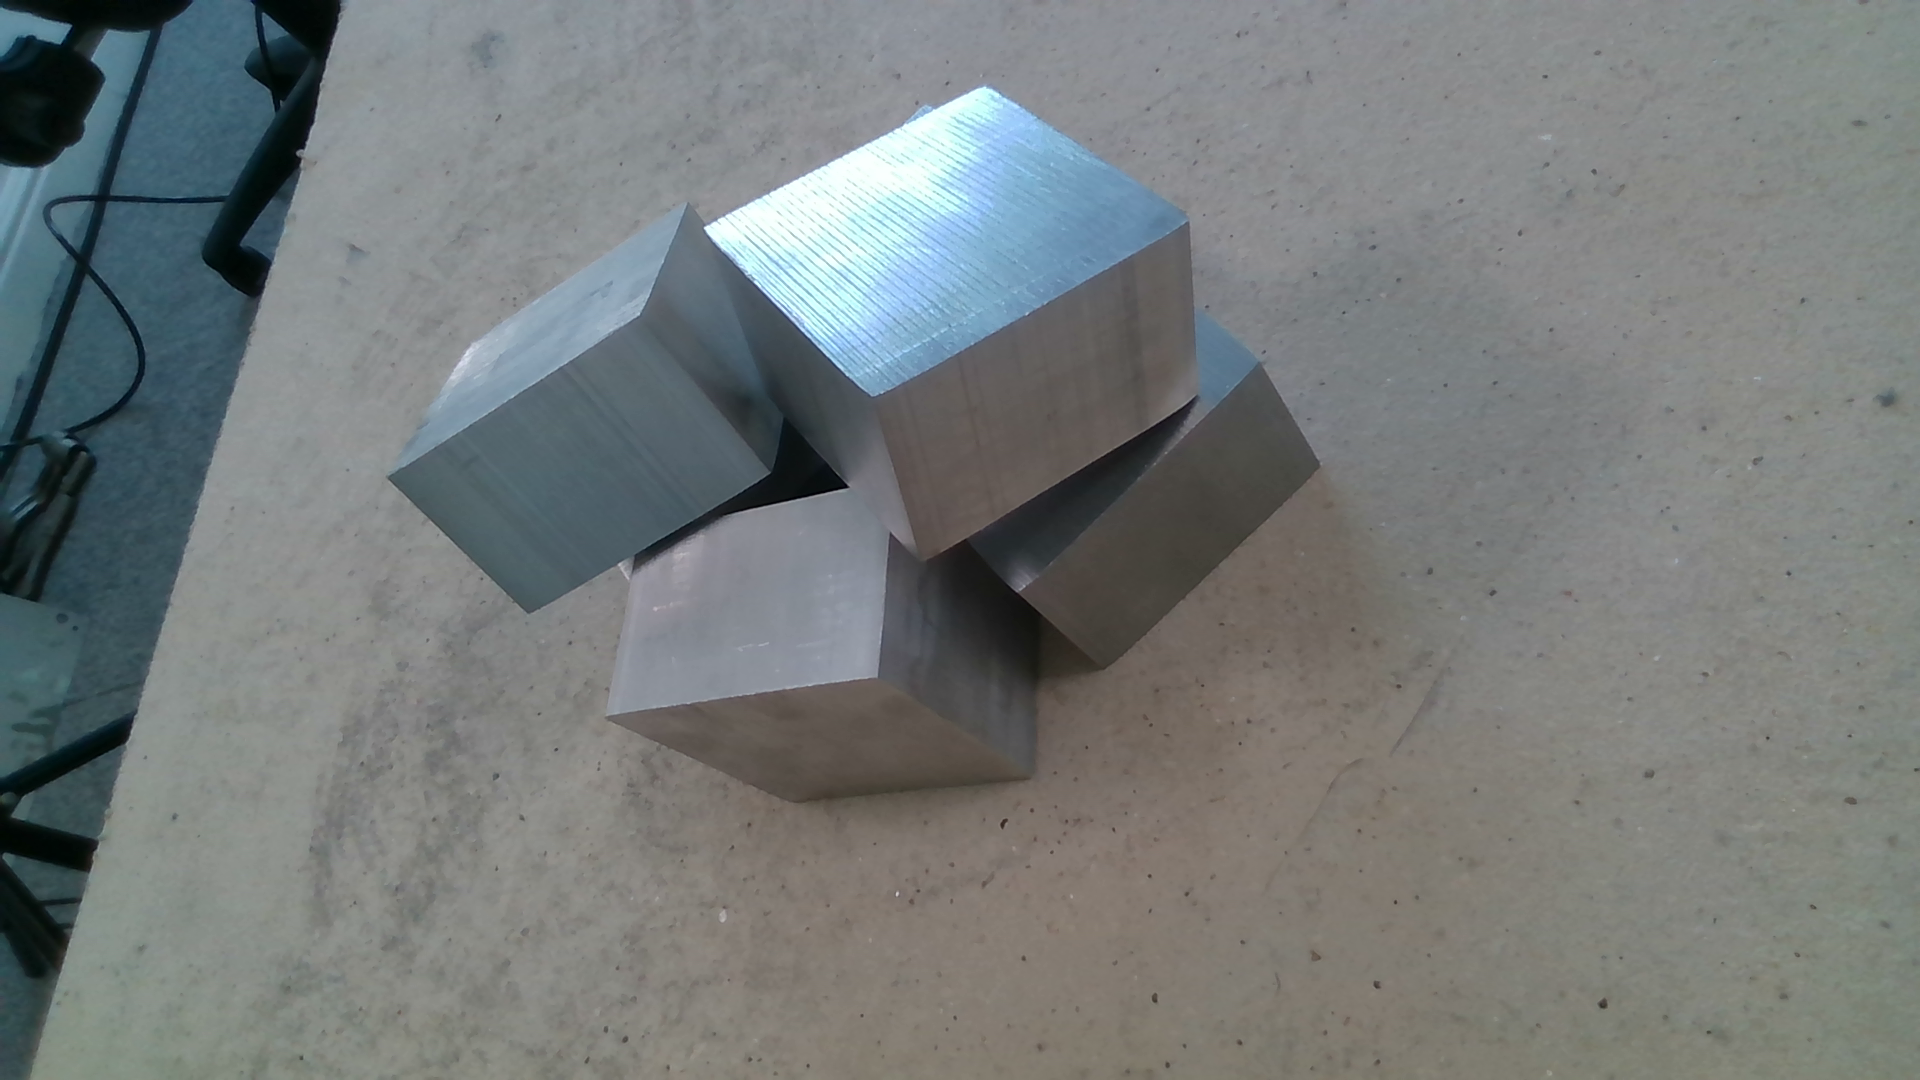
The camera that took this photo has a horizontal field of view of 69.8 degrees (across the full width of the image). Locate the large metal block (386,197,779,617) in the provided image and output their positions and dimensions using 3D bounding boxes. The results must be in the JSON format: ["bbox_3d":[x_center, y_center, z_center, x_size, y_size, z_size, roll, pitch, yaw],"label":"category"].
[{"bbox_3d":[-0.095,-0.038,0.372,0.080,0.050,0.080,-29,29,16],"label":"large metal block"}]

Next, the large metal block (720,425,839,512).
[{"bbox_3d":[-0.064,-0.016,0.426,0.080,0.050,0.080,-44,51,4],"label":"large metal block"}]

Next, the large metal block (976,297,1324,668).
[{"bbox_3d":[0.034,-0.028,0.369,0.080,0.050,0.080,-44,52,4],"label":"large metal block"}]

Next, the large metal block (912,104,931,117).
[{"bbox_3d":[-0.007,-0.072,0.421,0.080,0.050,0.080,-45,51,4],"label":"large metal block"}]

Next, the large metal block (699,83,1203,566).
[{"bbox_3d":[-0.001,-0.053,0.321,0.080,0.050,0.080,-31,50,-15],"label":"large metal block"}]

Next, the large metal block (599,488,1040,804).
[{"bbox_3d":[-0.033,0.031,0.362,0.080,0.080,0.050,-11,60,27],"label":"large metal block"}]
